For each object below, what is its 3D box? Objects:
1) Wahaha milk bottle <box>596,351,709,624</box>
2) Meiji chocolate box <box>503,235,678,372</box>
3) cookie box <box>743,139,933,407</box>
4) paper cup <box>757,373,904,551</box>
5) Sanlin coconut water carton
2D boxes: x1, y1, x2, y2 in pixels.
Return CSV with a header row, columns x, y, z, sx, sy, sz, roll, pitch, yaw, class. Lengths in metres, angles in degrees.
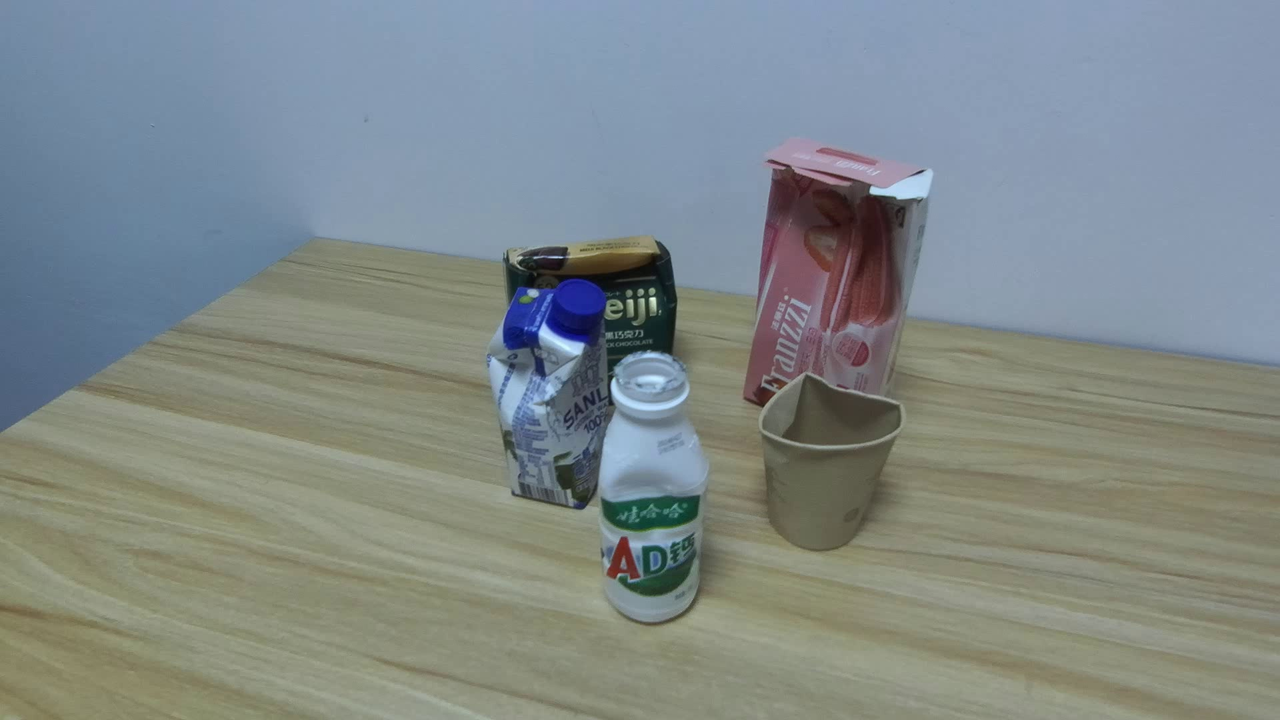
x,y,z,sx,sy,sz,roll,pitch,yaw,class
0.007,0.064,0.344,0.055,0.149,0.055,-1,34,1,Wahaha milk bottle
-0.036,-0.027,0.513,0.113,0.111,0.058,-8,25,-12,Meiji chocolate box
0.122,-0.040,0.460,0.118,0.184,0.055,27,44,36,cookie box
0.103,0.062,0.398,0.071,0.084,0.066,19,39,27,paper cup
-0.051,0.019,0.413,0.069,0.144,0.061,11,37,16,Sanlin coconut water carton
